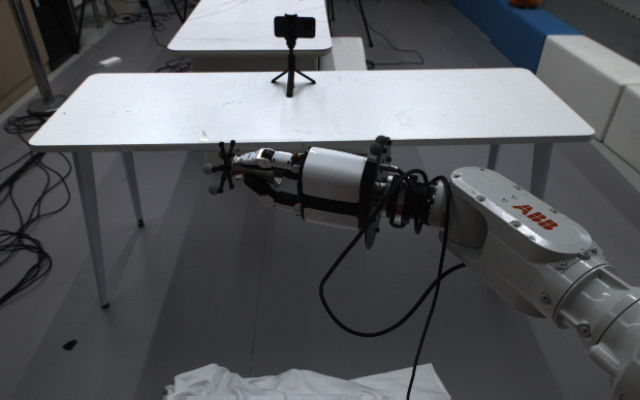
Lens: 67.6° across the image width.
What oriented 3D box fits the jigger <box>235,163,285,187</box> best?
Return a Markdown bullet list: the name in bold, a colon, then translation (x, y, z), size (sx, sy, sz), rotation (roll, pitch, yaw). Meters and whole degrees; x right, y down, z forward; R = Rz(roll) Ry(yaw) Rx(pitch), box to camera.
- **jigger**: translation (-0.088, -0.050, 0.727), size (0.071, 0.043, 0.043), rotation (8, 35, 14)
